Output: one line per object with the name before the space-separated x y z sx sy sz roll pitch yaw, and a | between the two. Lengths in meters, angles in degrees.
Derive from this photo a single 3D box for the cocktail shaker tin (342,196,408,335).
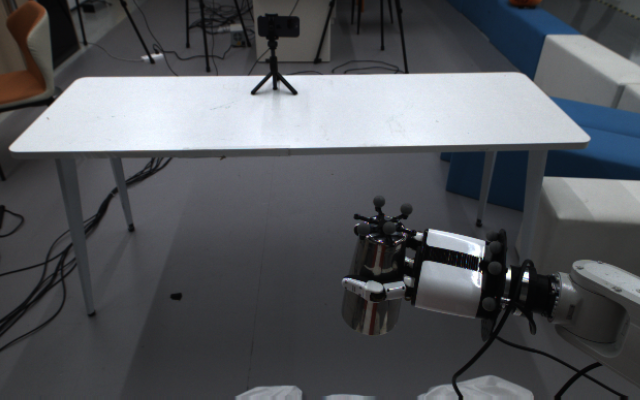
cocktail shaker tin | 0.086 0.108 0.718 0.093 0.170 0.093 2 36 -2
